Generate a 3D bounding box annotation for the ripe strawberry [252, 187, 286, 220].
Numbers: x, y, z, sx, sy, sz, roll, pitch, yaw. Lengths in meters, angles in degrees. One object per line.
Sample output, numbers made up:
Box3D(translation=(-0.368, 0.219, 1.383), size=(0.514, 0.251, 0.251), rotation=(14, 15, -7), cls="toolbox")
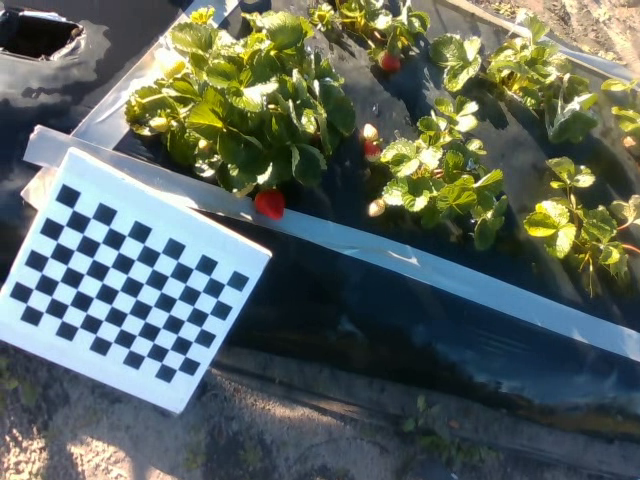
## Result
Box3D(translation=(-0.064, -0.048, 0.841), size=(0.045, 0.064, 0.049), rotation=(-35, -43, 4), cls="ripe strawberry")
